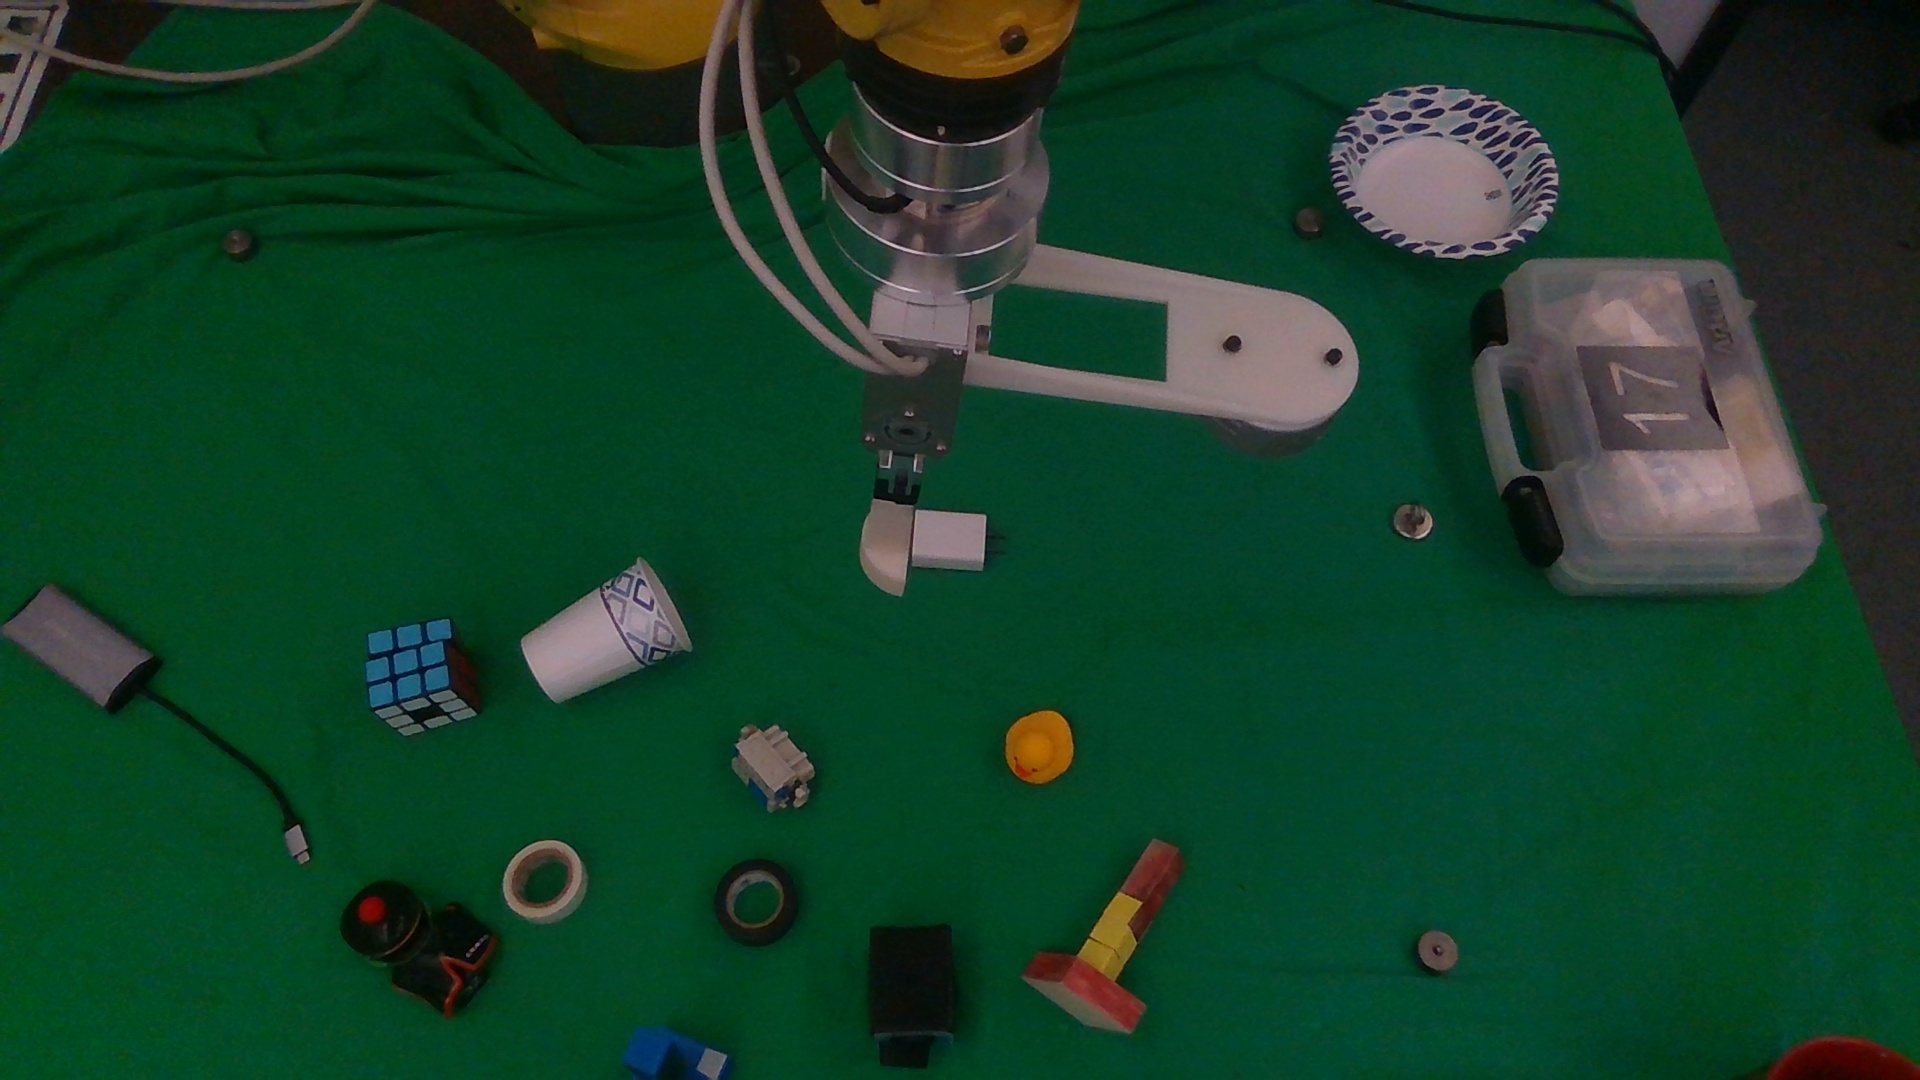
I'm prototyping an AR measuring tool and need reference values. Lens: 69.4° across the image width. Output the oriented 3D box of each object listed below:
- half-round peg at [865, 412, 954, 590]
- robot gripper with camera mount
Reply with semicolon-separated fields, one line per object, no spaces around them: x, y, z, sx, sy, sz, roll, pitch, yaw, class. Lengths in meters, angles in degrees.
-0.024;-0.024;0.669;0.031;0.122;0.054;1;63;-11;half-round peg
0.051;-0.073;0.577;0.193;0.158;0.119;8;61;-2;robot gripper with camera mount
